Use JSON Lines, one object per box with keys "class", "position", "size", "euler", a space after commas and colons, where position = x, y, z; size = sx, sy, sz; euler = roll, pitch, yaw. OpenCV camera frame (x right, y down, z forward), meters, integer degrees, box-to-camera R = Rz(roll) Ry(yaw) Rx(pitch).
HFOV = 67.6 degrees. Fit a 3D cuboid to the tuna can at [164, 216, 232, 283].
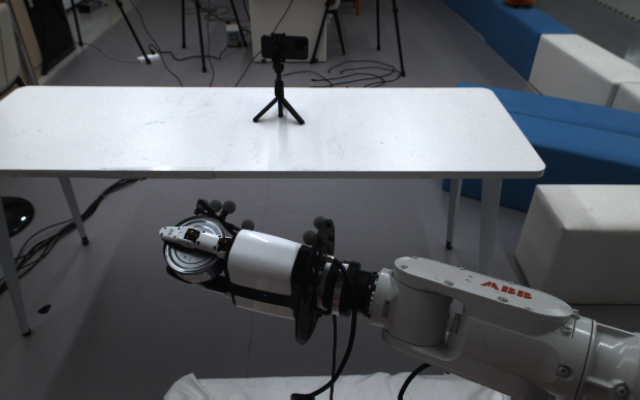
{"class": "tuna can", "position": [-0.159, 0.065, 0.642], "size": [0.085, 0.034, 0.085], "euler": [-4, 56, 6]}
